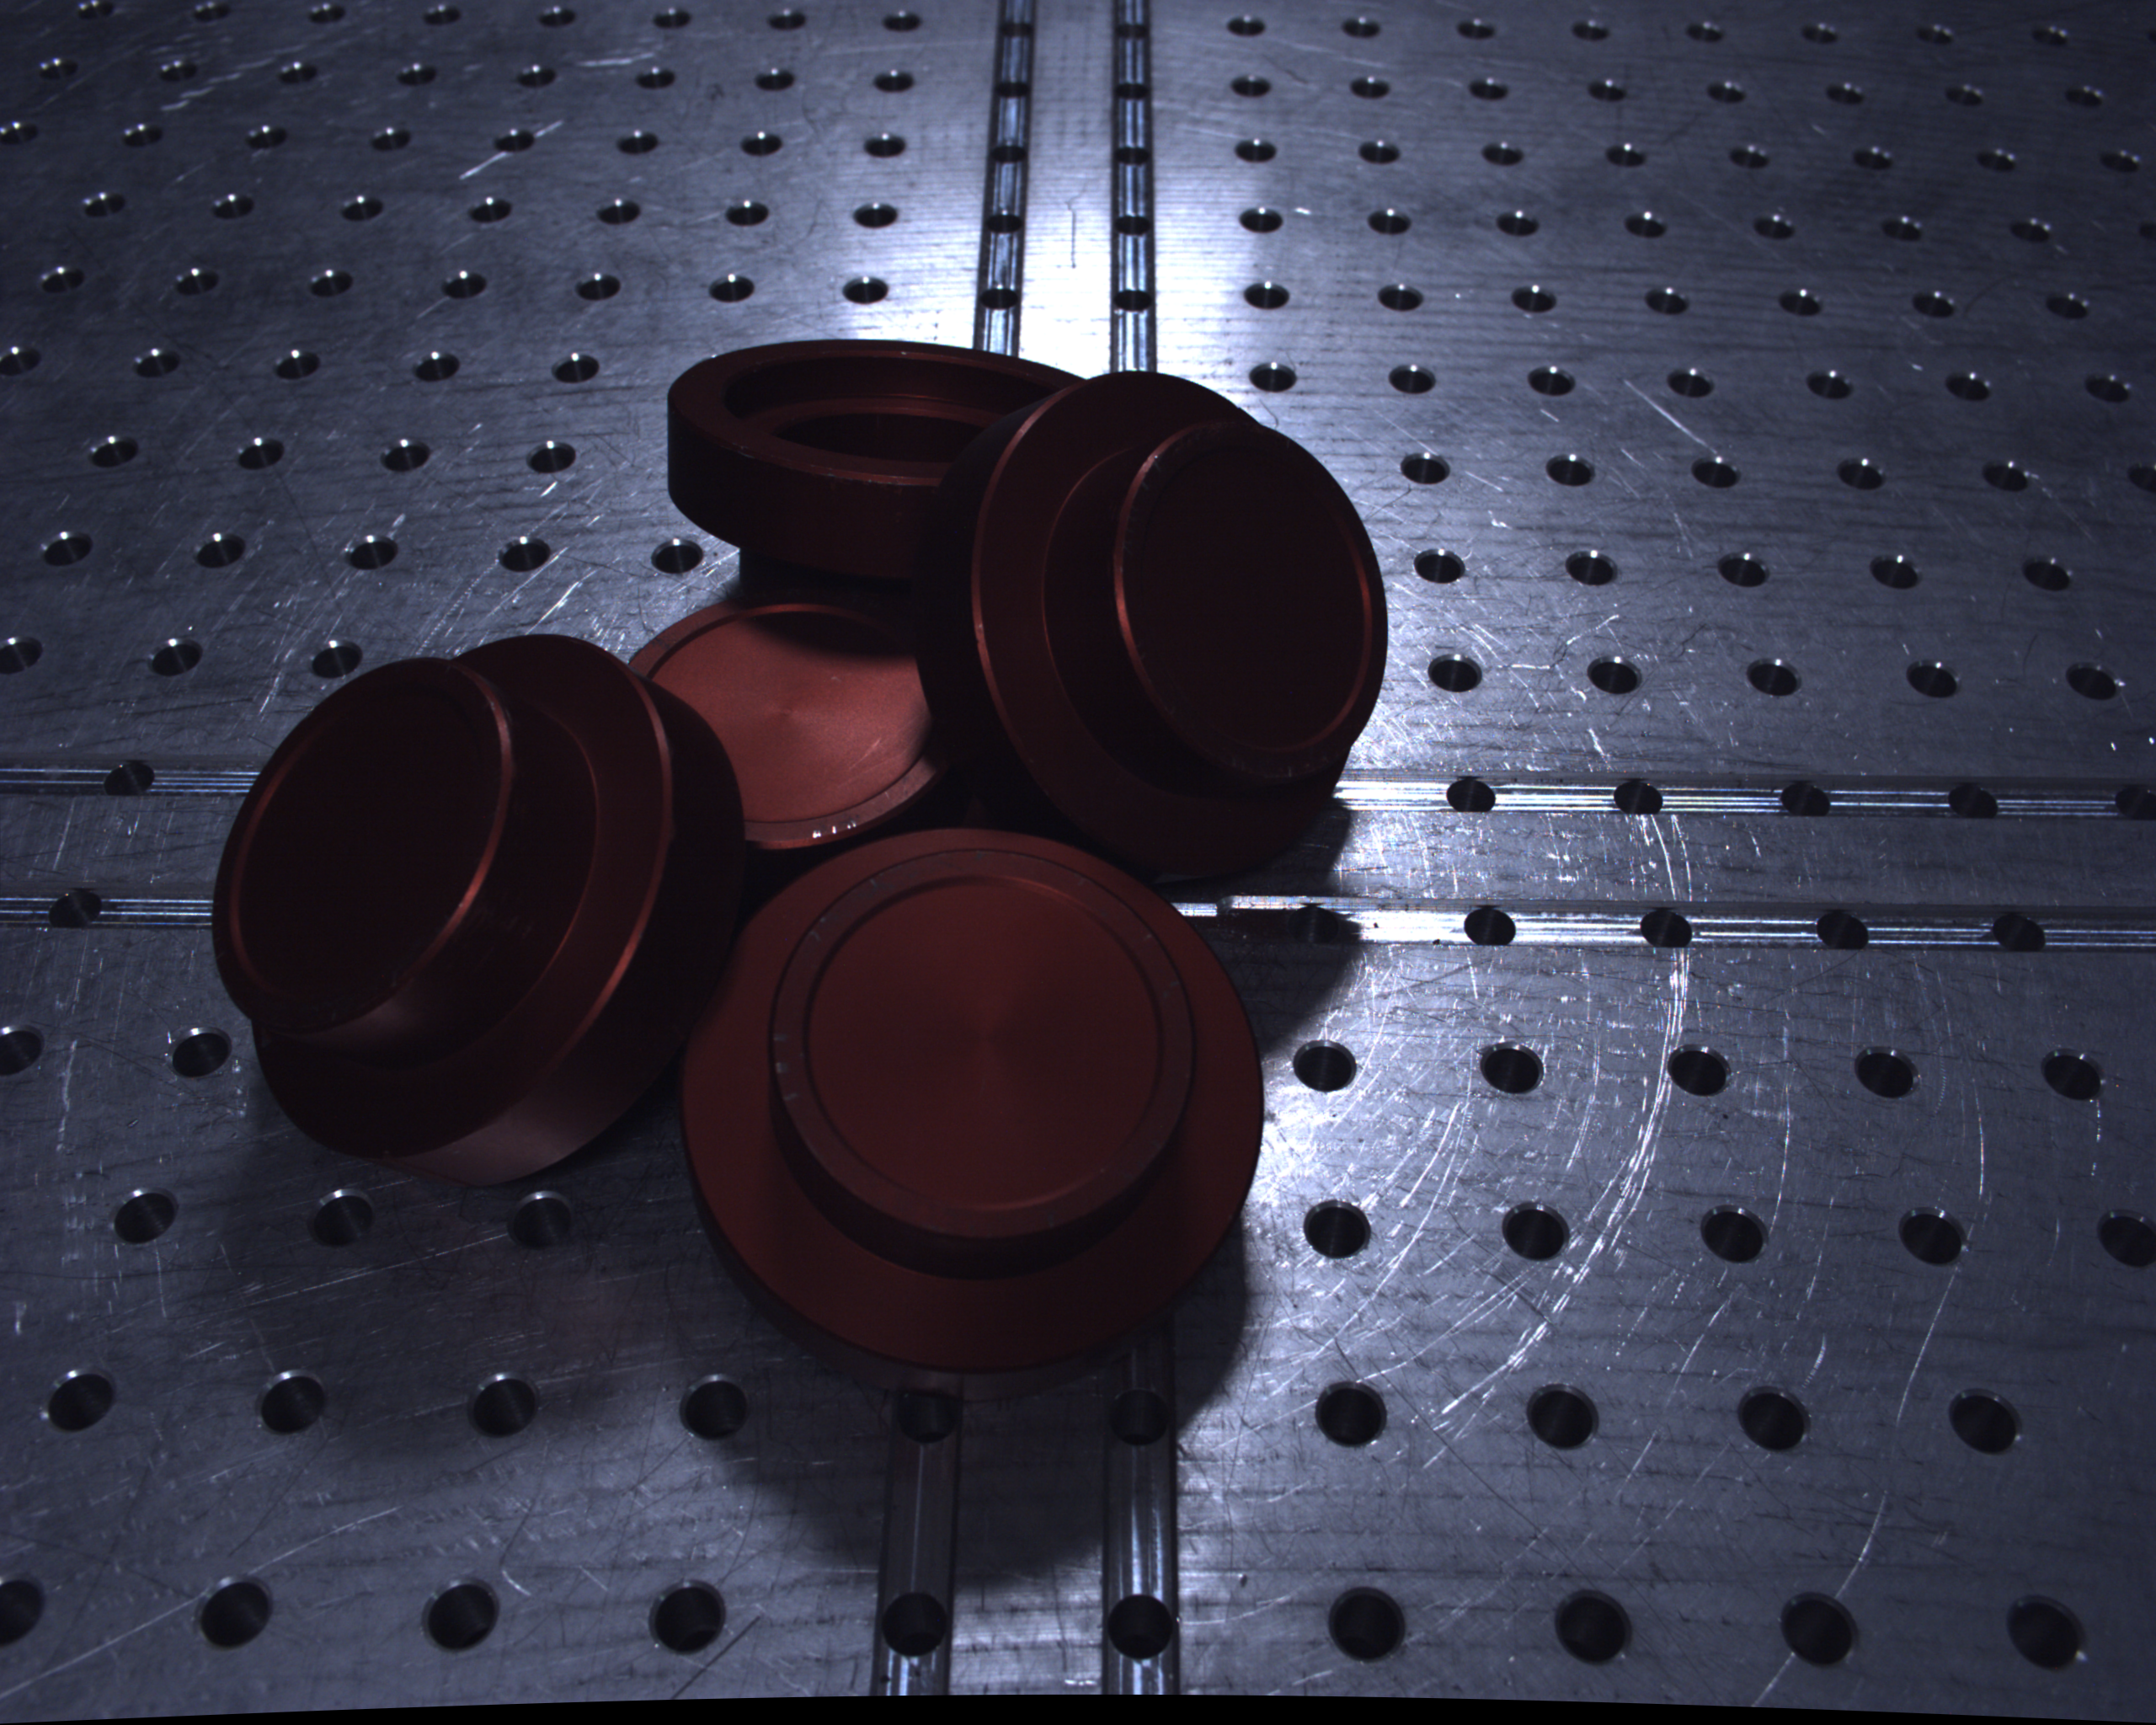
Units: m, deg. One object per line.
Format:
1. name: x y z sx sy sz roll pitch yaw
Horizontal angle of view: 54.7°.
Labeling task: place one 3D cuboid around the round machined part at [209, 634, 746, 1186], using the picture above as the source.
1. round machined part: -0.110 0.003 0.361 0.098 0.042 0.098 -13 61 26

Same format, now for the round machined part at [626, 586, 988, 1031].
1. round machined part: -0.056 -0.016 0.408 0.099 0.042 0.098 0 50 0

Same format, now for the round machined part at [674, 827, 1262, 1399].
1. round machined part: -0.018 0.036 0.350 0.099 0.042 0.098 3 61 -6

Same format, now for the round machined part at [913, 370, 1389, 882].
1. round machined part: 0.021 -0.046 0.397 0.042 0.098 0.098 -9 33 50

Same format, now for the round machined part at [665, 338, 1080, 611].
1. round machined part: -0.038 -0.078 0.447 0.099 0.042 0.098 5 29 -2
